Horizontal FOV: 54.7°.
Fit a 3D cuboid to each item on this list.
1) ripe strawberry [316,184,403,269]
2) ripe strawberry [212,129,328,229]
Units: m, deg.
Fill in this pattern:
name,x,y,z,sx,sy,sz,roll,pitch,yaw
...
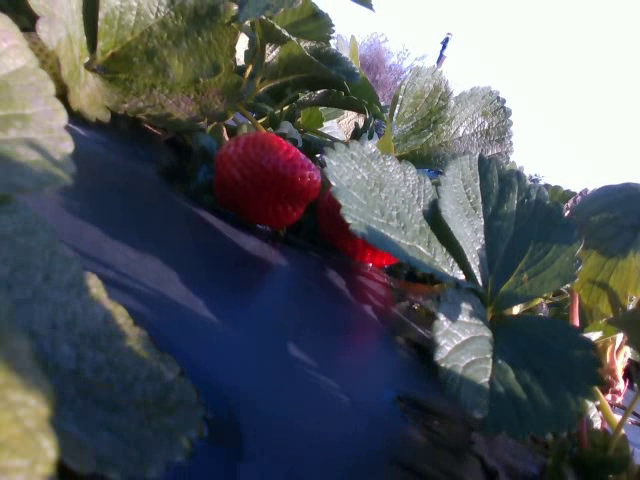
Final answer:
name,x,y,z,sx,sy,sz,roll,pitch,yaw
ripe strawberry,0.028,-0.006,0.239,0.052,0.046,0.058,-13,20,-36
ripe strawberry,-0.017,-0.022,0.210,0.043,0.036,0.052,-24,29,-38
